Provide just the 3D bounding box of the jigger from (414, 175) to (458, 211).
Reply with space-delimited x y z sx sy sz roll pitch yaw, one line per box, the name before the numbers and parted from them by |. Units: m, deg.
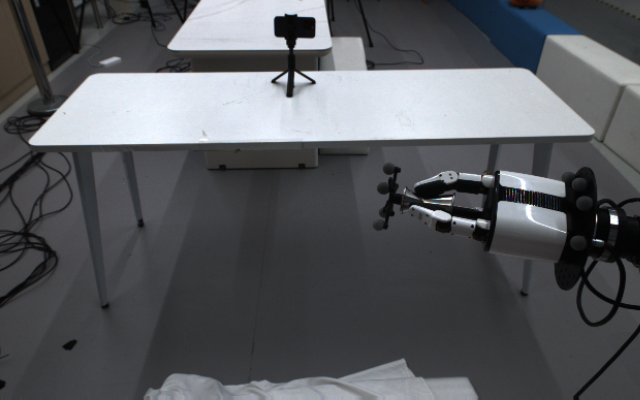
jigger | 0.154 0.003 0.666 0.071 0.043 0.043 11 36 16
